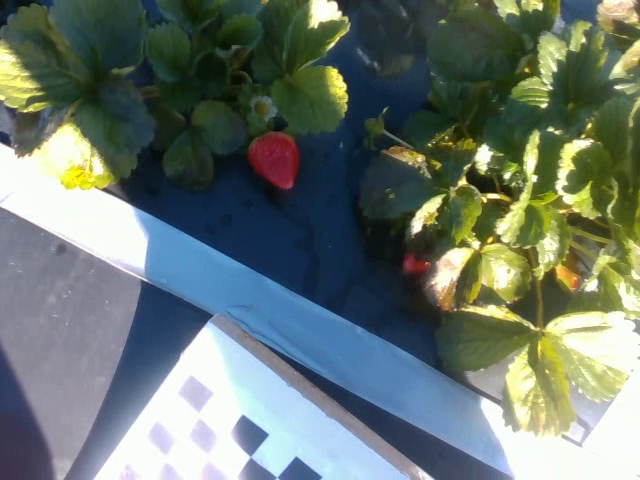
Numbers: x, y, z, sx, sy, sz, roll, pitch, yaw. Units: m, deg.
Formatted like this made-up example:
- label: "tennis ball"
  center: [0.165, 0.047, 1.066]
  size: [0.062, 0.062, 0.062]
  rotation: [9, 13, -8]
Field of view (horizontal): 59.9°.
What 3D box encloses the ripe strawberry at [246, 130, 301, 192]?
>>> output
- label: "ripe strawberry"
  center: [-0.033, -0.064, 0.445]
  size: [0.045, 0.059, 0.042]
  rotation: [-24, -11, 20]
